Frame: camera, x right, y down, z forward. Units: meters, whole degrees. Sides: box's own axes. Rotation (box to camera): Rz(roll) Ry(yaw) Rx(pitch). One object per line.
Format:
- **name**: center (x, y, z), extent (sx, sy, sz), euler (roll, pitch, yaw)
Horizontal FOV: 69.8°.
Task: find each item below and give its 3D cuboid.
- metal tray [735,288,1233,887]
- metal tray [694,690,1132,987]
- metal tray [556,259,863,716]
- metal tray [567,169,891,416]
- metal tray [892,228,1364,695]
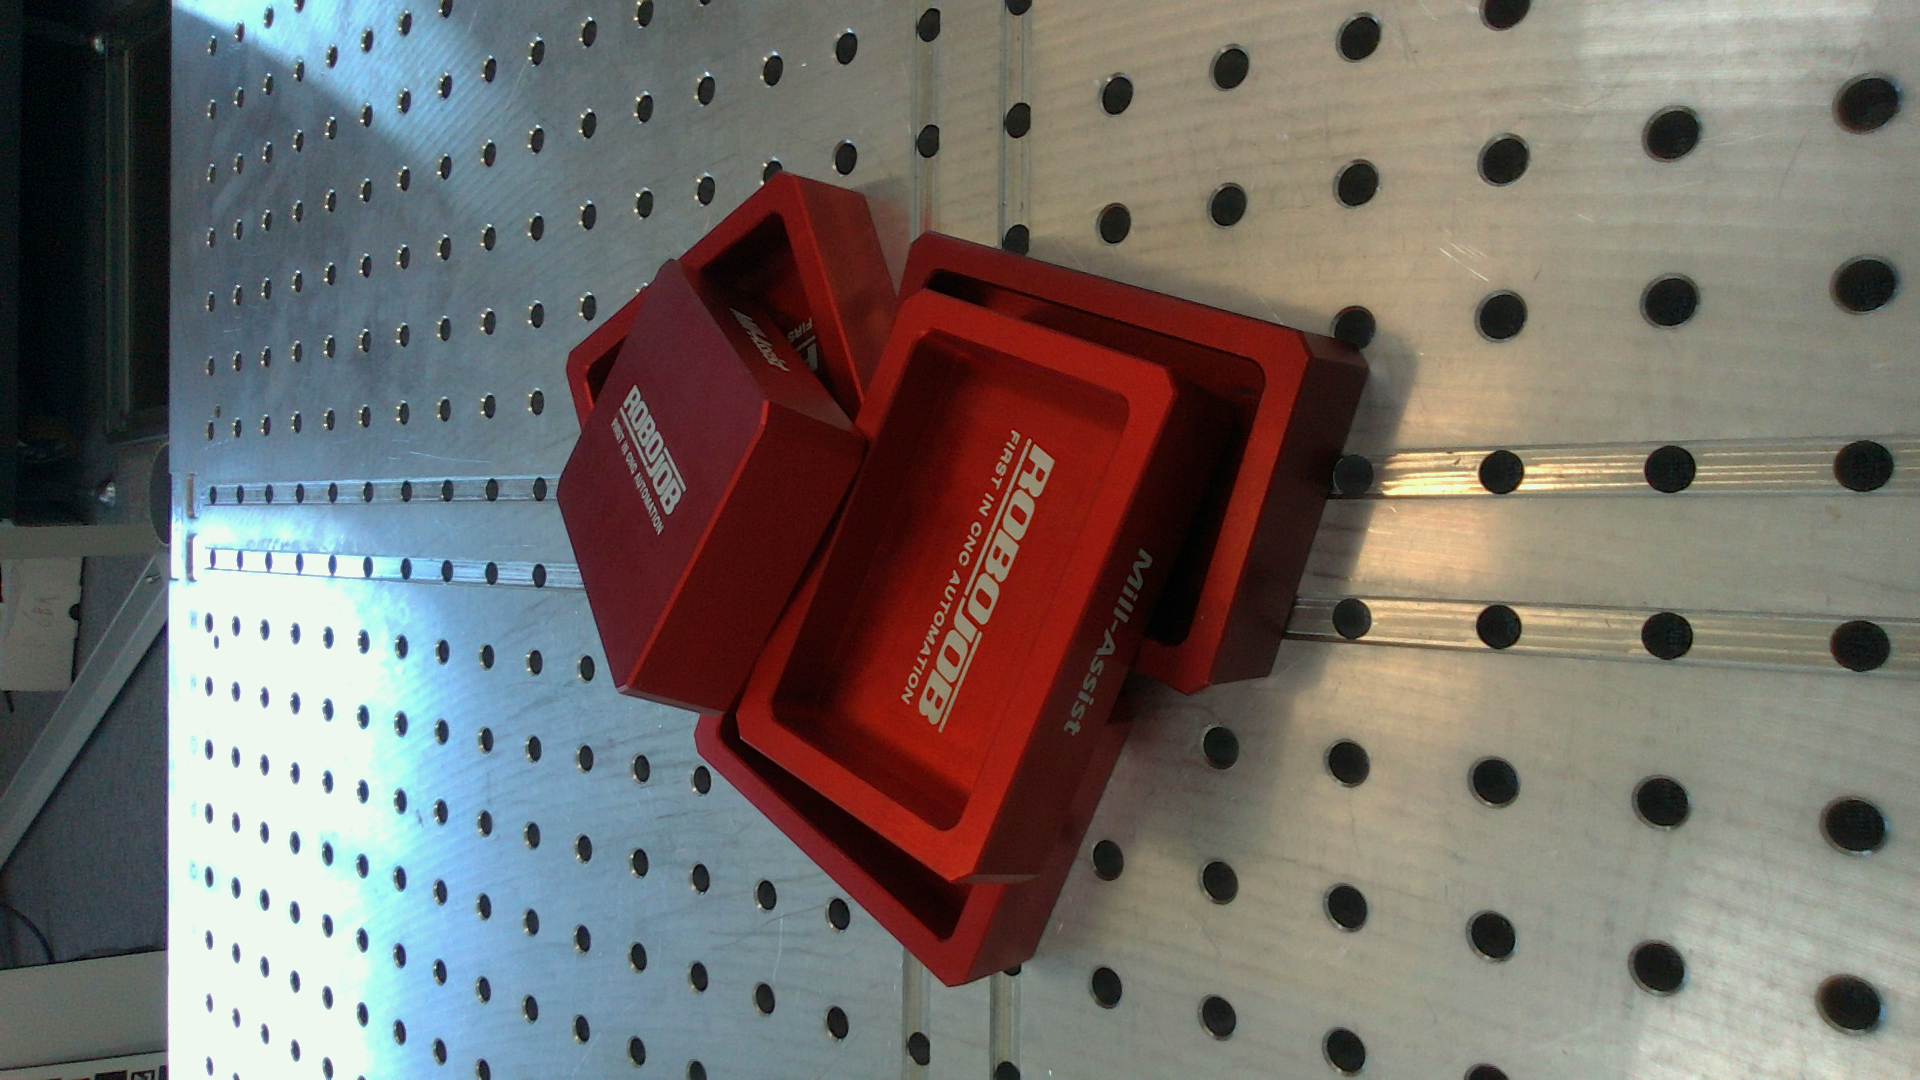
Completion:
- **metal tray**: center (0.003, 0.010, 0.352), extent (0.090, 0.030, 0.130), euler (25, 95, 38)
- **metal tray**: center (-0.020, 0.056, 0.412), extent (0.130, 0.030, 0.090), euler (33, 111, 35)
- **metal tray**: center (-0.081, -0.020, 0.409), extent (0.090, 0.030, 0.130), euler (-60, 34, 14)
- **metal tray**: center (-0.075, -0.049, 0.458), extent (0.130, 0.030, 0.090), euler (-29, 72, 37)
- **metal tray**: center (0.031, -0.025, 0.367), extent (0.130, 0.030, 0.090), euler (25, 105, 38)
